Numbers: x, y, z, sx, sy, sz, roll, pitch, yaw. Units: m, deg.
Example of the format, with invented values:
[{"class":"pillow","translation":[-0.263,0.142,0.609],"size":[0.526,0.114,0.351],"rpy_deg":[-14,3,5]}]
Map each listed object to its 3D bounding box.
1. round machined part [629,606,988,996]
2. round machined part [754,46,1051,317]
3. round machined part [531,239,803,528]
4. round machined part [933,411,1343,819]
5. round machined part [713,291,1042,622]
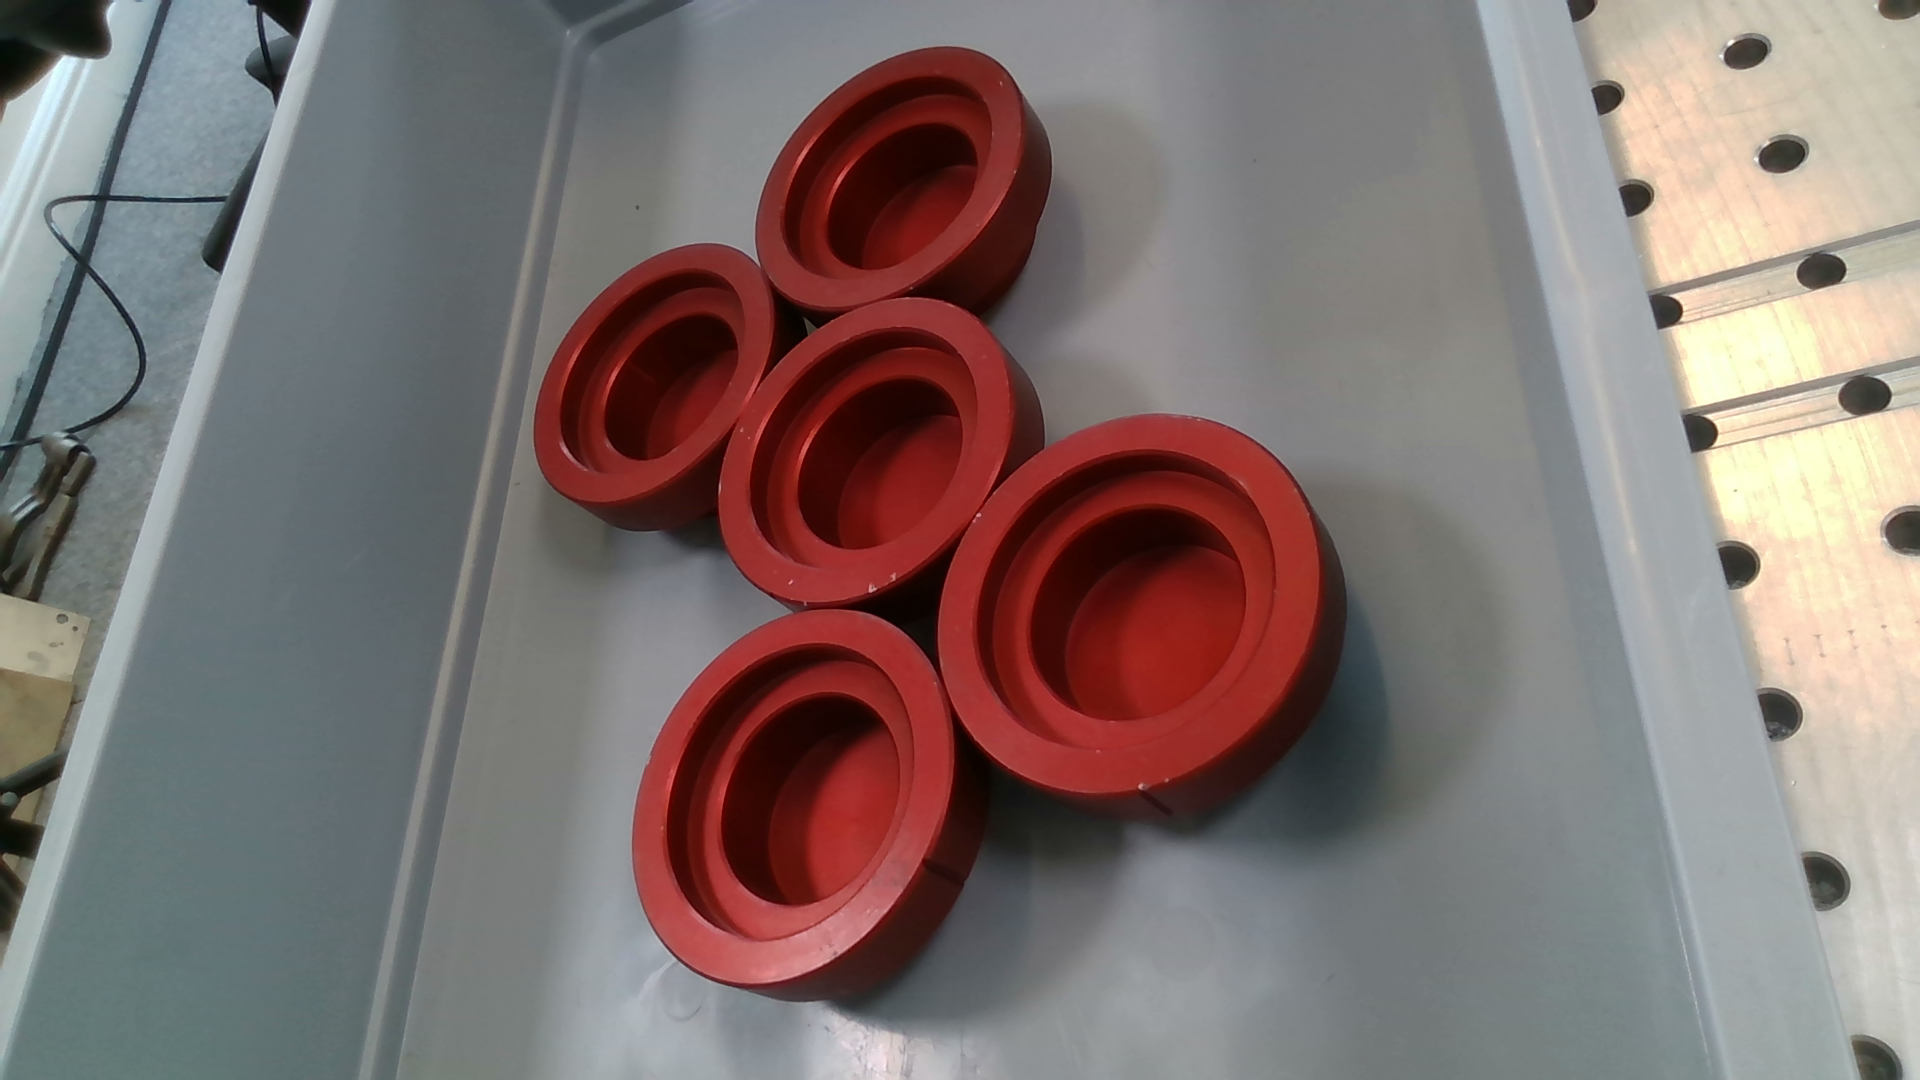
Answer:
[{"class":"round machined part","translation":[-0.036,0.070,0.364],"size":[0.098,0.042,0.098],"rpy_deg":[-14,59,25]},{"class":"round machined part","translation":[-0.015,-0.107,0.445],"size":[0.098,0.042,0.098],"rpy_deg":[-14,59,25]},{"class":"round machined part","translation":[-0.092,-0.048,0.461],"size":[0.098,0.042,0.098],"rpy_deg":[-14,59,25]},{"class":"round machined part","translation":[0.046,0.021,0.340],"size":[0.098,0.042,0.098],"rpy_deg":[-14,59,25]},{"class":"round machined part","translation":[-0.020,-0.020,0.401],"size":[0.098,0.042,0.098],"rpy_deg":[-14,59,25]}]
